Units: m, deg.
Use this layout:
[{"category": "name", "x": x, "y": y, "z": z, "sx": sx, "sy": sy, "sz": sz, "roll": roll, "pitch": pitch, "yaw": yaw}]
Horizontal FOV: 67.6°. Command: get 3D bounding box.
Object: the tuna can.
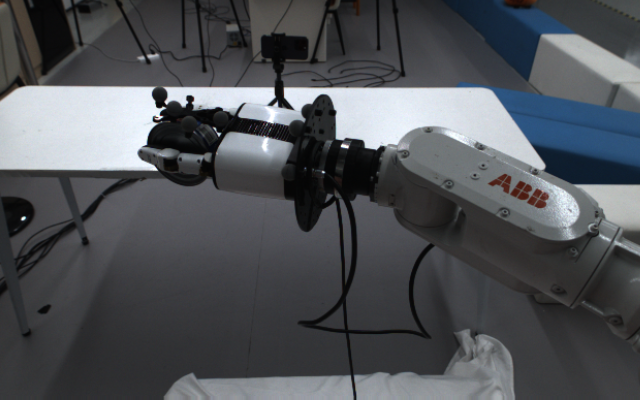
[{"category": "tuna can", "x": -0.162, "y": -0.062, "z": 0.590, "sx": 0.085, "sy": 0.085, "sz": 0.034, "roll": 12, "pitch": 33, "yaw": 14}]
